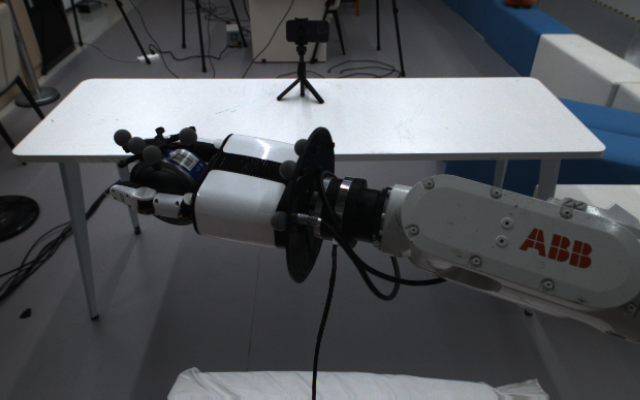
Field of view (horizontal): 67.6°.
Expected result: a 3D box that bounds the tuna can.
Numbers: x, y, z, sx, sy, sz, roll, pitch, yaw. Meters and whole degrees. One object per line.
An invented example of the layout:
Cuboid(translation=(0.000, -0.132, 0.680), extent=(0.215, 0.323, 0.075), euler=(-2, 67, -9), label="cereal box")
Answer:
Cuboid(translation=(-0.156, -0.015, 0.523), extent=(0.085, 0.085, 0.034), euler=(11, 38, 12), label="tuna can")
